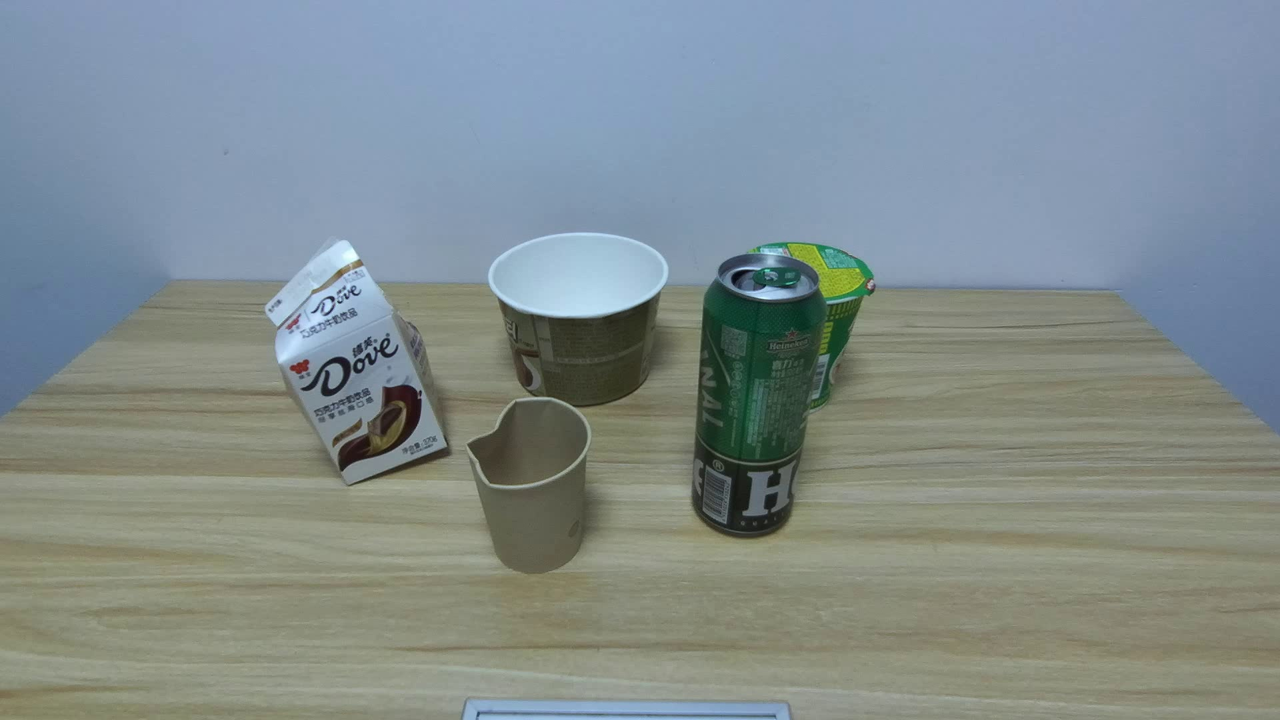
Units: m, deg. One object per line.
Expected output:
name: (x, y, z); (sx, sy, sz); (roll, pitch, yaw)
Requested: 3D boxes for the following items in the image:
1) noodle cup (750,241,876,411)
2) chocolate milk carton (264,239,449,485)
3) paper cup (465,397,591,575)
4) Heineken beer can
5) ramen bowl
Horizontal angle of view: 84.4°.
noodle cup: (0.119, -0.020, 0.539); (0.097, 0.110, 0.097); (0, 33, 0)
chocolate milk carton: (-0.190, 0.002, 0.477); (0.089, 0.156, 0.076); (-28, 38, -15)
paper cup: (-0.061, 0.078, 0.422); (0.069, 0.081, 0.073); (-17, 37, -24)
Heineken beer can: (0.068, 0.026, 0.418); (0.067, 0.169, 0.067); (0, 33, 0)
ramen bowl: (-0.046, -0.032, 0.572); (0.140, 0.095, 0.140); (1, 35, -1)
